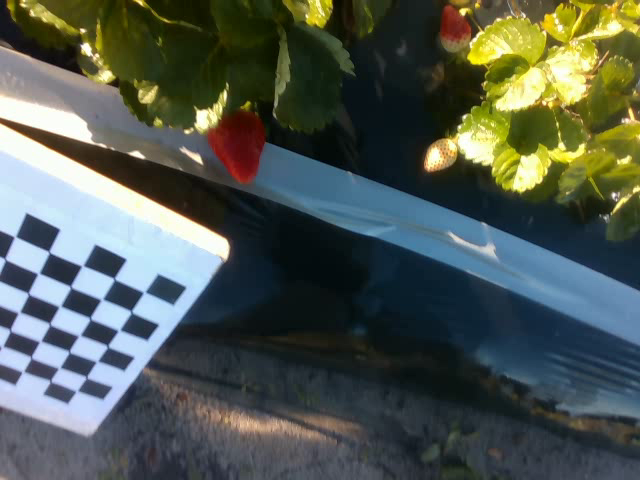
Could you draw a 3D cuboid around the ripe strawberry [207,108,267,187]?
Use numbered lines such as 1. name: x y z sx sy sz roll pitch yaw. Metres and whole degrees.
1. ripe strawberry: -0.059 -0.067 0.409 0.045 0.064 0.048 -24 -27 20
